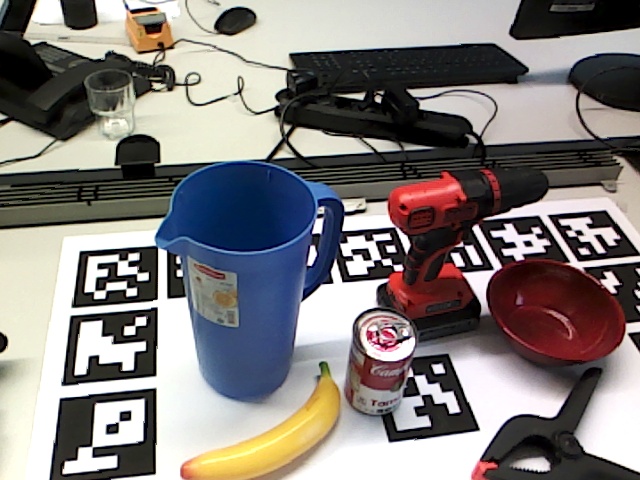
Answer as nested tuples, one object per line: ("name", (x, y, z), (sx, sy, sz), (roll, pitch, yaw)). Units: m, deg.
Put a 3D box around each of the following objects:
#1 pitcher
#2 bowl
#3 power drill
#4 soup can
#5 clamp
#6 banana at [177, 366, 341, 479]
("pitcher", (-0.062, 0.045, 0.638), (0.188, 0.242, 0.134), (-24, 47, -27))
("bowl", (0.278, 0.094, 0.744), (0.161, 0.055, 0.162), (2, 45, -2))
("power drill", (0.164, 0.004, 0.710), (0.184, 0.186, 0.058), (-9, 45, -14))
("soup can", (0.065, 0.127, 0.663), (0.068, 0.102, 0.068), (1, 35, -1))
("clamp", (0.251, 0.210, 0.624), (0.202, 0.036, 0.166), (-7, 48, -12))
("banana", (-0.048, 0.197, 0.629), (0.196, 0.039, 0.075), (-24, 42, -29))
